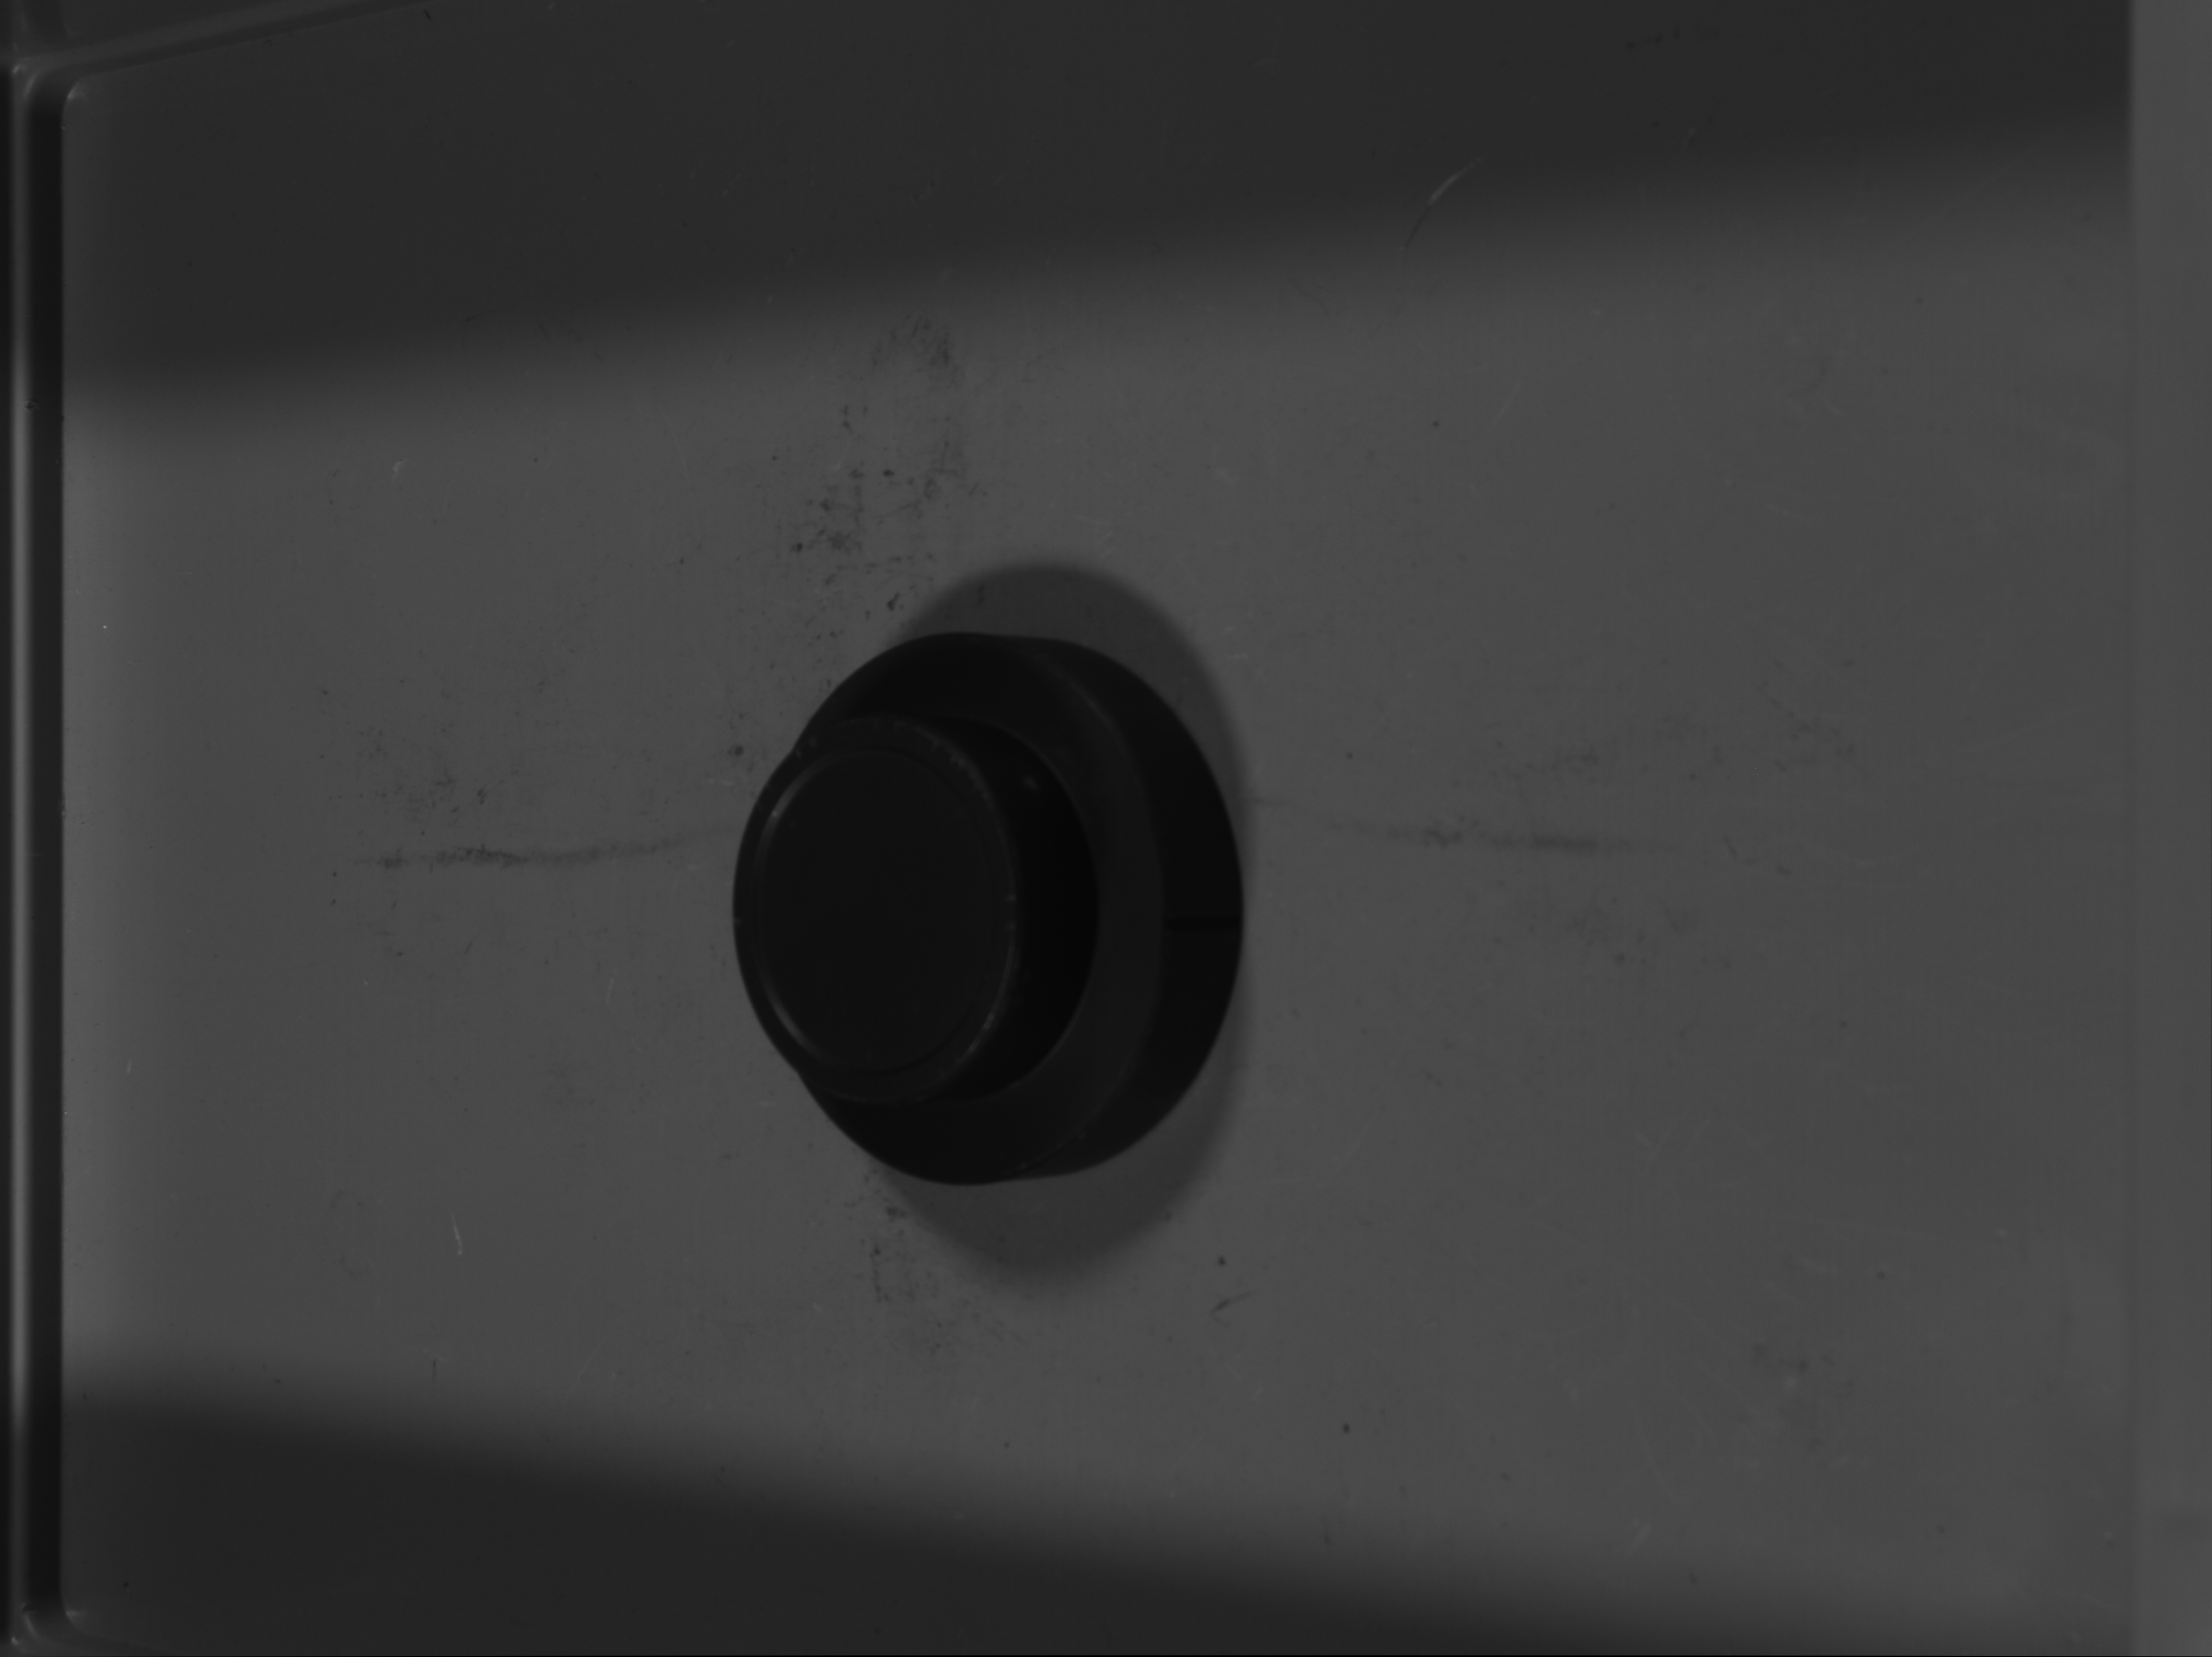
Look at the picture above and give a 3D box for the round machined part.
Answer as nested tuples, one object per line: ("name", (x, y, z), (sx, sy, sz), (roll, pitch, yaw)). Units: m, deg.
("round machined part", (-0.032, 0.015, 0.648), (0.098, 0.042, 0.098), (0, 90, 39))
